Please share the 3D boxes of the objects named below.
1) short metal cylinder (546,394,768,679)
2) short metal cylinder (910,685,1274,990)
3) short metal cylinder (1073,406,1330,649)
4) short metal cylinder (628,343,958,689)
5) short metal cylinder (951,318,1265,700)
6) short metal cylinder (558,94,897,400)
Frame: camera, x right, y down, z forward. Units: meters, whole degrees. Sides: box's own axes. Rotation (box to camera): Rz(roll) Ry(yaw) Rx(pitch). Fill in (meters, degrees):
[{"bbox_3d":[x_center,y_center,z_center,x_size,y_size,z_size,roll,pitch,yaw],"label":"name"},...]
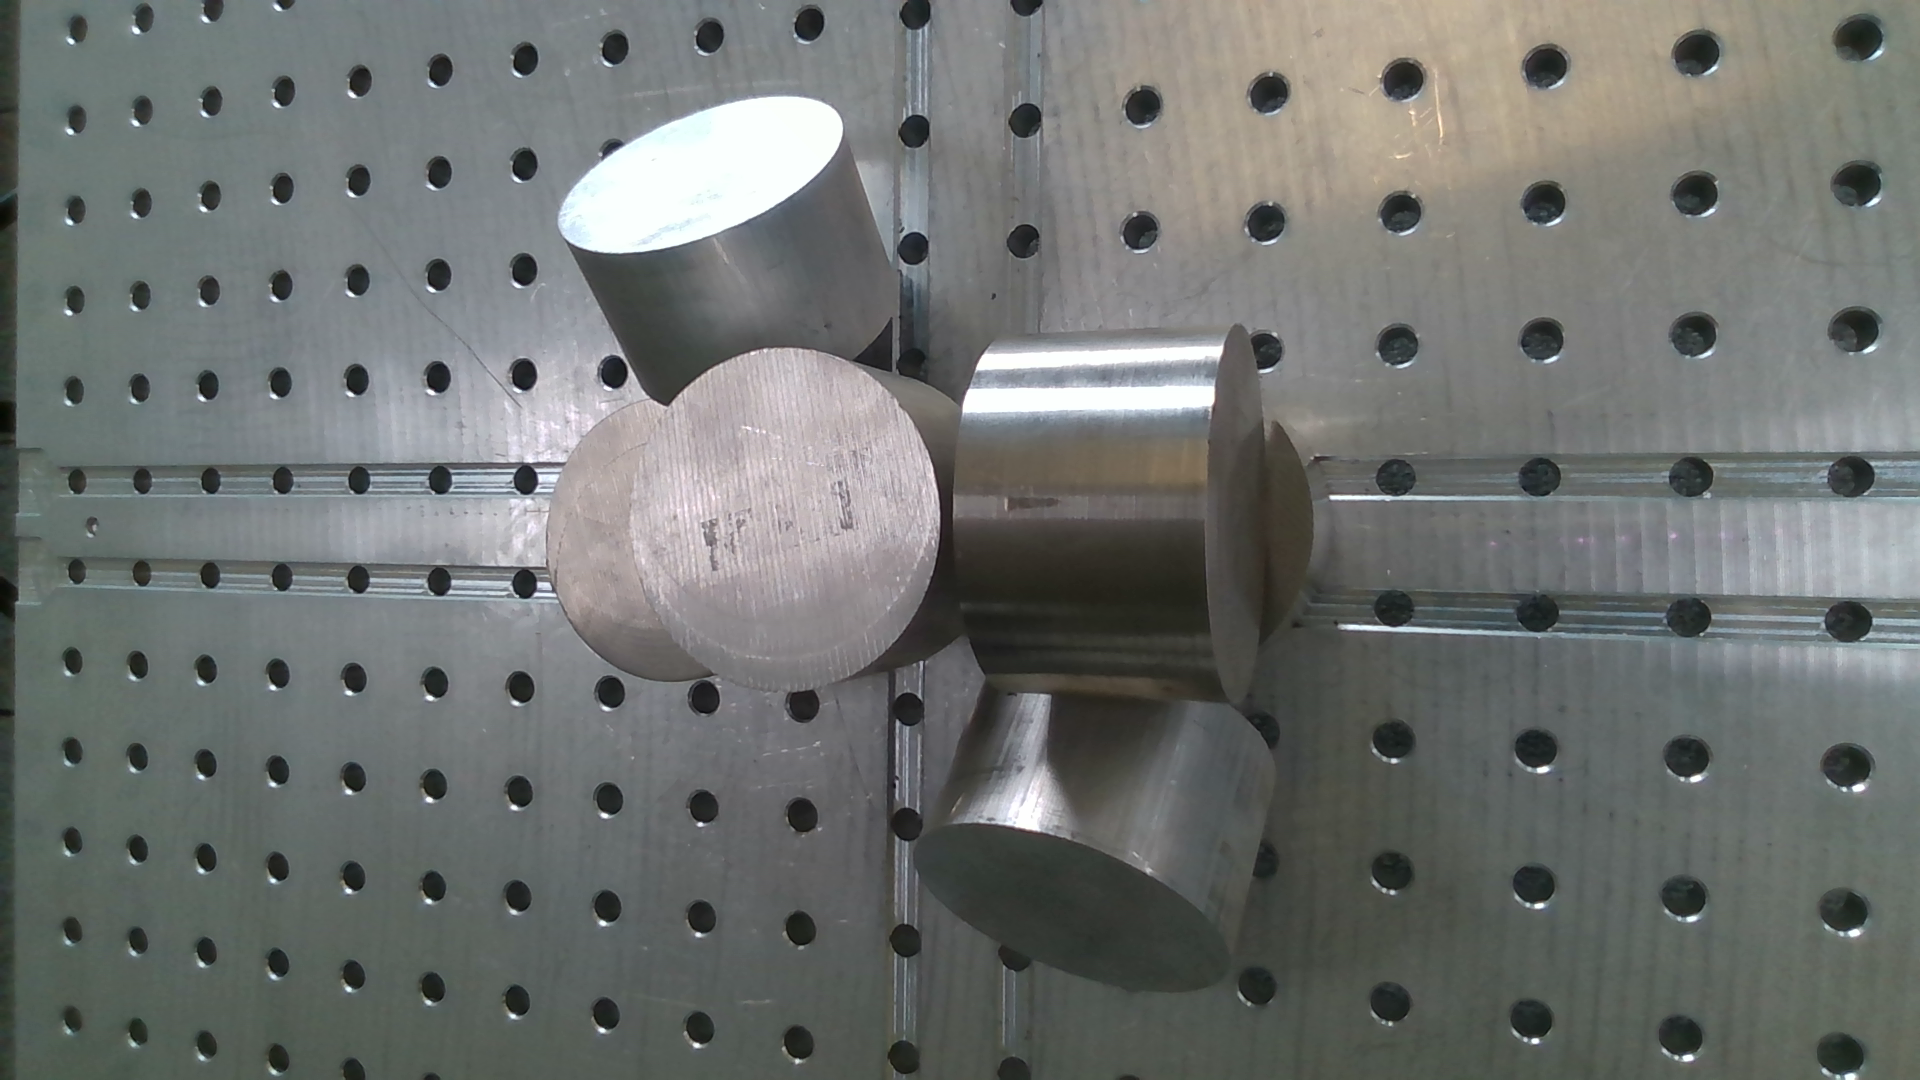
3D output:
[{"bbox_3d":[-0.074,-0.001,0.409,0.080,0.050,0.080,0,91,21],"label":"short metal cylinder"},{"bbox_3d":[0.034,0.071,0.348,0.080,0.080,0.050,11,54,20],"label":"short metal cylinder"},{"bbox_3d":[0.054,-0.004,0.363,0.080,0.050,0.080,0,90,21],"label":"short metal cylinder"},{"bbox_3d":[-0.034,-0.005,0.341,0.080,0.050,0.080,0,90,20],"label":"short metal cylinder"},{"bbox_3d":[0.036,-0.007,0.299,0.050,0.080,0.080,0,90,20],"label":"short metal cylinder"},{"bbox_3d":[-0.063,-0.081,0.384,0.080,0.080,0.050,-2,133,20],"label":"short metal cylinder"}]
